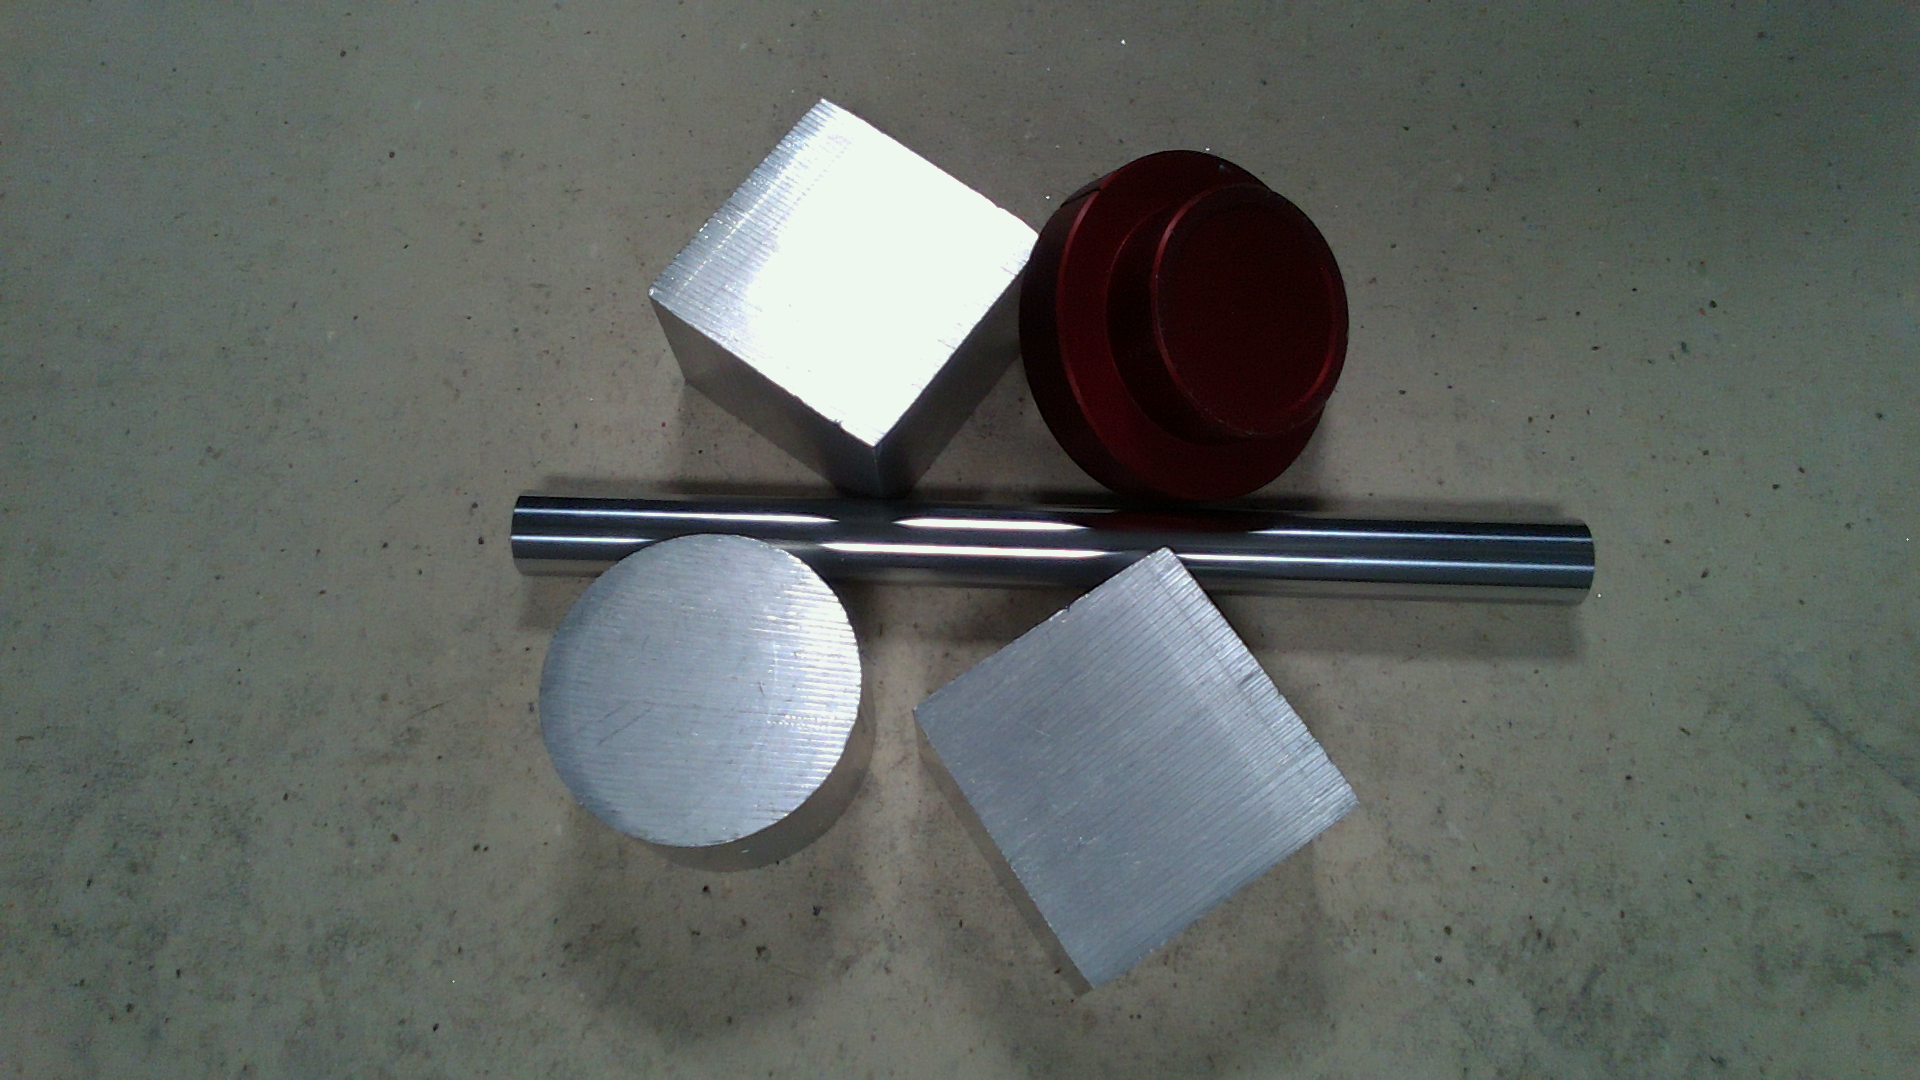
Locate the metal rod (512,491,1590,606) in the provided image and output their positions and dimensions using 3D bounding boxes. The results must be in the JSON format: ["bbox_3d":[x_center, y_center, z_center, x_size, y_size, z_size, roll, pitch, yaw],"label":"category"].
[{"bbox_3d":[0.025,0.002,0.395,0.300,0.025,0.025,2,70,0],"label":"metal rod"}]

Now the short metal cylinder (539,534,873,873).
[{"bbox_3d":[-0.064,0.044,0.365,0.080,0.050,0.080,0,70,0],"label":"short metal cylinder"}]

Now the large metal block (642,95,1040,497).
[{"bbox_3d":[-0.031,-0.068,0.404,0.080,0.050,0.080,35,74,12],"label":"large metal block"}]

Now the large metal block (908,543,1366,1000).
[{"bbox_3d":[0.043,0.061,0.359,0.080,0.050,0.080,-32,73,-11],"label":"large metal block"}]

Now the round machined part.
[{"bbox_3d":[0.068,-0.061,0.383,0.098,0.042,0.098,2,85,-27],"label":"round machined part"}]
